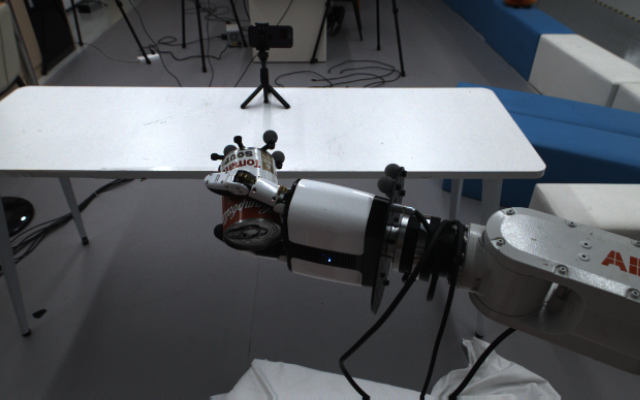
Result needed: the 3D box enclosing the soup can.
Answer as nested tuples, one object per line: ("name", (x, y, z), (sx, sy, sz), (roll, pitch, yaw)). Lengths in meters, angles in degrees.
("soup can", (-0.078, -0.002, 0.559), (0.067, 0.067, 0.101), (-5, 57, -10))
